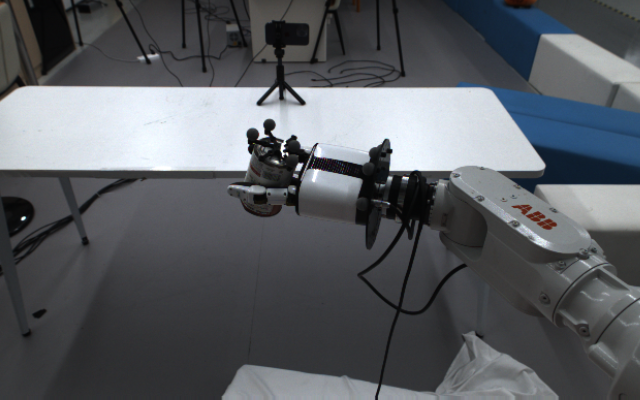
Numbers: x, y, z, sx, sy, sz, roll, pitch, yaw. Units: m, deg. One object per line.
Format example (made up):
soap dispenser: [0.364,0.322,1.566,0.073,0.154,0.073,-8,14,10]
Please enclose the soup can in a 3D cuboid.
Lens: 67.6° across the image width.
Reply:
soup can: [-0.076,-0.032,0.717,0.067,0.101,0.067,14,40,-12]
